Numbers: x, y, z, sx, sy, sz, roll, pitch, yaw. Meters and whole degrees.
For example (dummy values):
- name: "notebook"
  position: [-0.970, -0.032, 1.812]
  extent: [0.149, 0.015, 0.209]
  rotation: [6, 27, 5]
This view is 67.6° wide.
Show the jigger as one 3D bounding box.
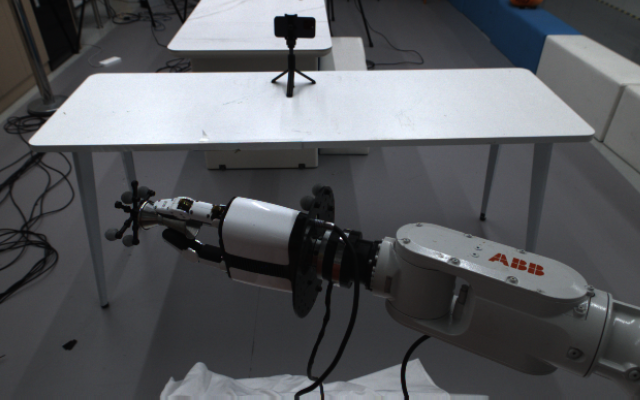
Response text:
- name: "jigger"
  position: [-0.188, 0.021, 0.628]
  extent: [0.071, 0.043, 0.043]
  rotation: [8, 35, 12]
